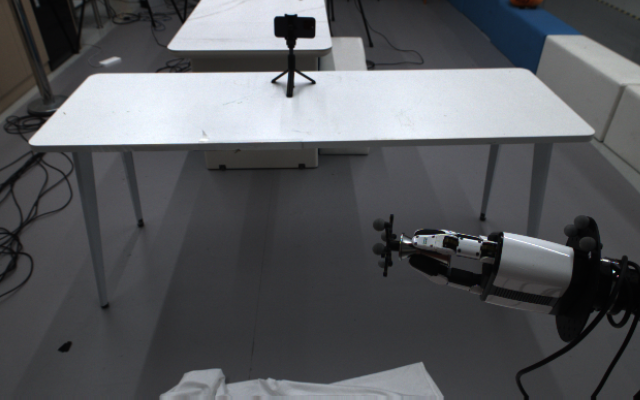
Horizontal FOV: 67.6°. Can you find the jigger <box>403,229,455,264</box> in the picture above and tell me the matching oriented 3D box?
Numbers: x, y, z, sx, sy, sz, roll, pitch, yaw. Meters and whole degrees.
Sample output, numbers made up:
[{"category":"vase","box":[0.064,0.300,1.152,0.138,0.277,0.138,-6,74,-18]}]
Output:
[{"category":"jigger","box":[0.153,0.063,0.666,0.071,0.043,0.043,4,34,17]}]
